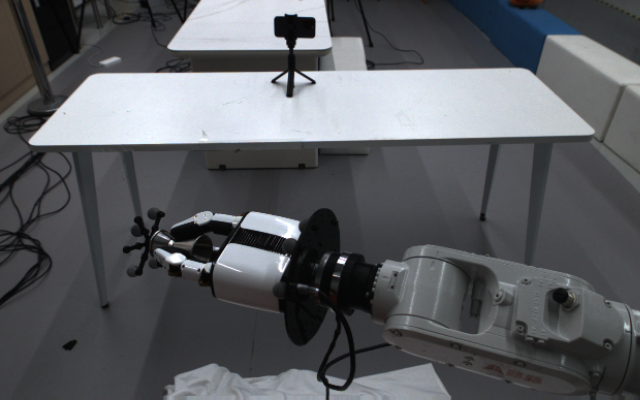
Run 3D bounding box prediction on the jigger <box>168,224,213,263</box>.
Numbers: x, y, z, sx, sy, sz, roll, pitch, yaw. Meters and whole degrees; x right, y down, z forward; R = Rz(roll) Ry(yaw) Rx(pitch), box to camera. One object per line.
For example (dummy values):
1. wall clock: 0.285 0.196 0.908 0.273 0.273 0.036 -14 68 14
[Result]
1. jigger: -0.173 0.060 0.621 0.071 0.043 0.043 6 34 23
